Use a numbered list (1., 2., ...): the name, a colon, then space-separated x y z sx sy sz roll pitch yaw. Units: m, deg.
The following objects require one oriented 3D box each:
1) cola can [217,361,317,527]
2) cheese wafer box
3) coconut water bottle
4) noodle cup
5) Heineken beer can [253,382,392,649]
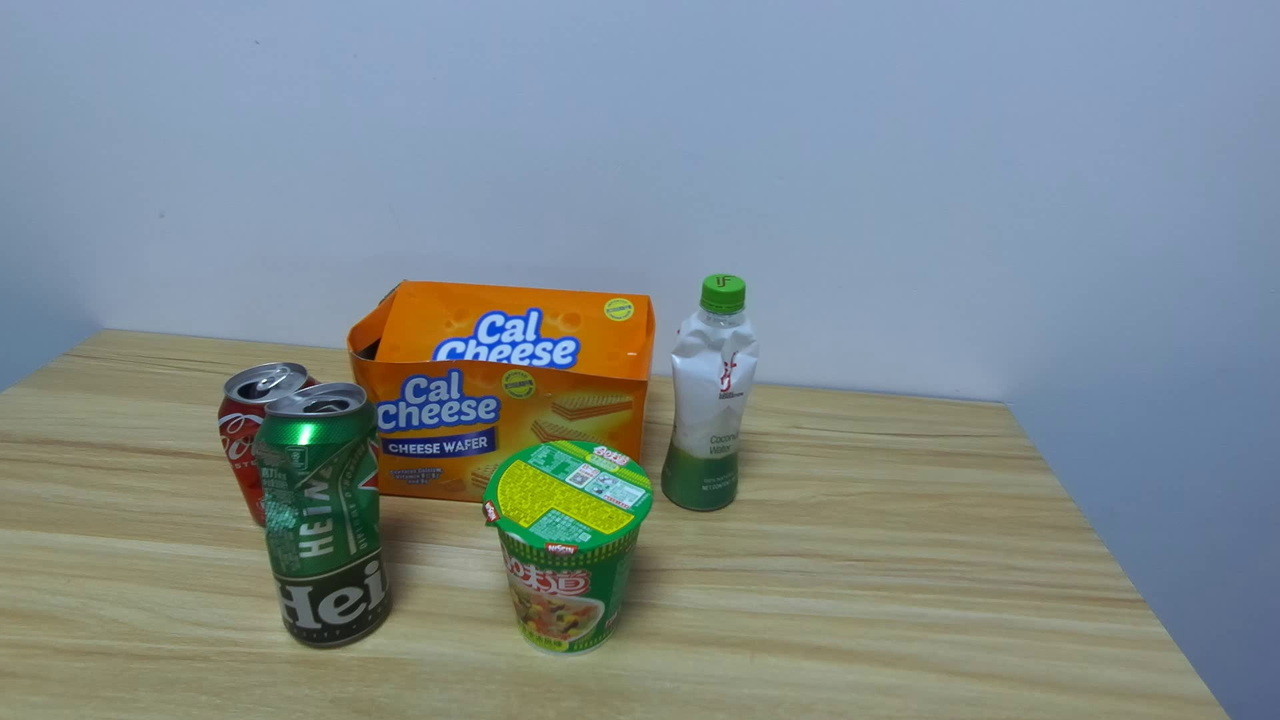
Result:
1. cola can: -0.258 0.062 0.514 0.066 0.117 0.066 0 28 -5
2. cheese wafer box: -0.108 0.027 0.586 0.230 0.132 0.152 5 31 1
3. coconut water bottle: 0.053 0.026 0.539 0.069 0.186 0.069 1 30 -1
4. noodle cup: -0.046 0.122 0.445 0.097 0.110 0.097 3 32 -2
5. Heineken beer can: -0.188 0.096 0.425 0.067 0.159 0.078 -6 23 -23
